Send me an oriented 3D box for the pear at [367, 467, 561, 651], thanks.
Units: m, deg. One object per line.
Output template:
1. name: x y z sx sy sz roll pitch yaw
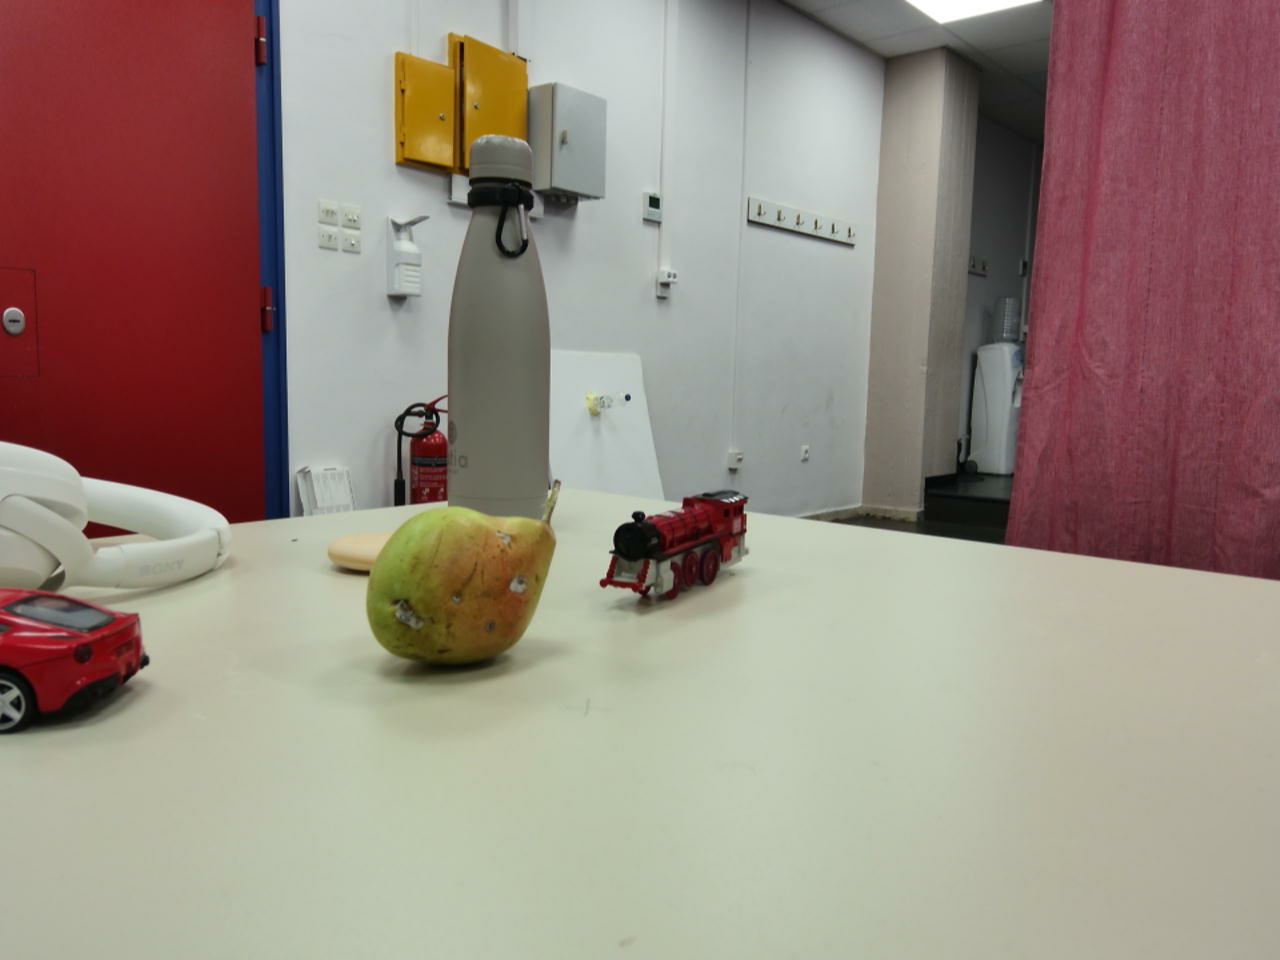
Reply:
1. pear: -0.070 0.032 0.399 0.070 0.069 0.068 0 4 1
